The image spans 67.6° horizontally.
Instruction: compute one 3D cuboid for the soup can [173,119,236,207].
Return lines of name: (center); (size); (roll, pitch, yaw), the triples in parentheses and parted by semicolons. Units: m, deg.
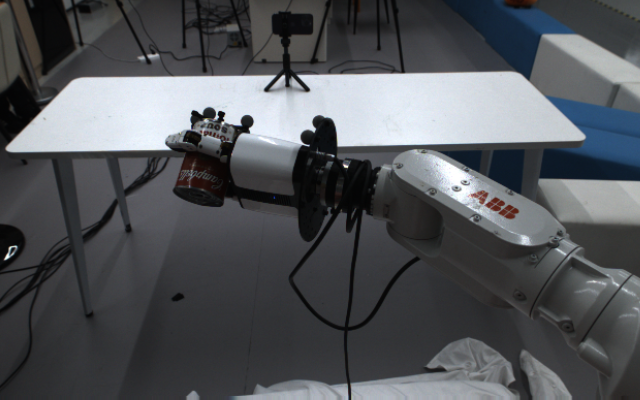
soup can: (-0.149, -0.049, 0.649); (0.067, 0.067, 0.101); (8, 71, 9)
